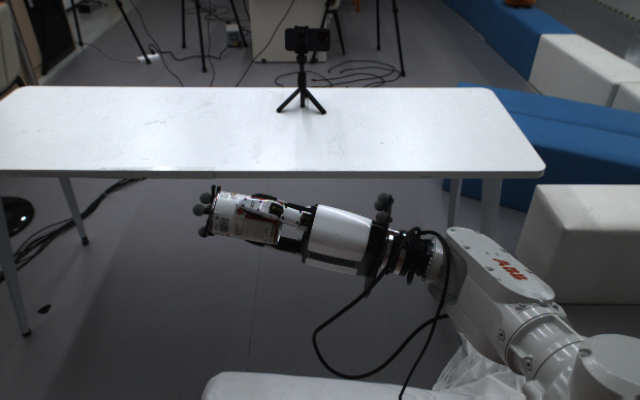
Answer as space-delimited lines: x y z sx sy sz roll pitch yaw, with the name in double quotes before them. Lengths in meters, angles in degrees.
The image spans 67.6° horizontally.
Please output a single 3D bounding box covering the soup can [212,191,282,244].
"soup can" -0.106 0.029 0.727 0.101 0.067 0.067 10 35 -1
